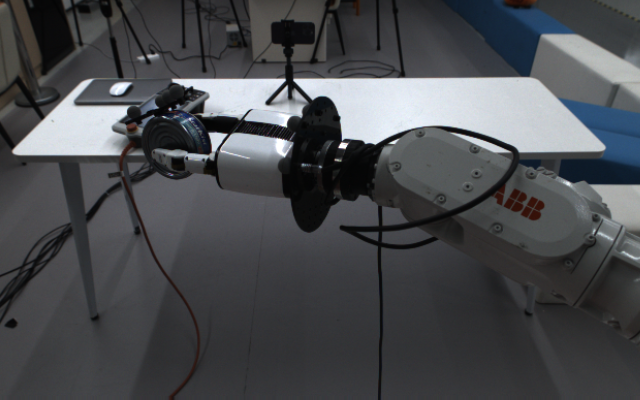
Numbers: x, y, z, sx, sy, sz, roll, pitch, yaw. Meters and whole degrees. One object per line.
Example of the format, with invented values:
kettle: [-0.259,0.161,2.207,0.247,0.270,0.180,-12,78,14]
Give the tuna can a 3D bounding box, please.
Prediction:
tuna can: [-0.181,-0.065,0.620,0.085,0.085,0.034,14,30,17]
